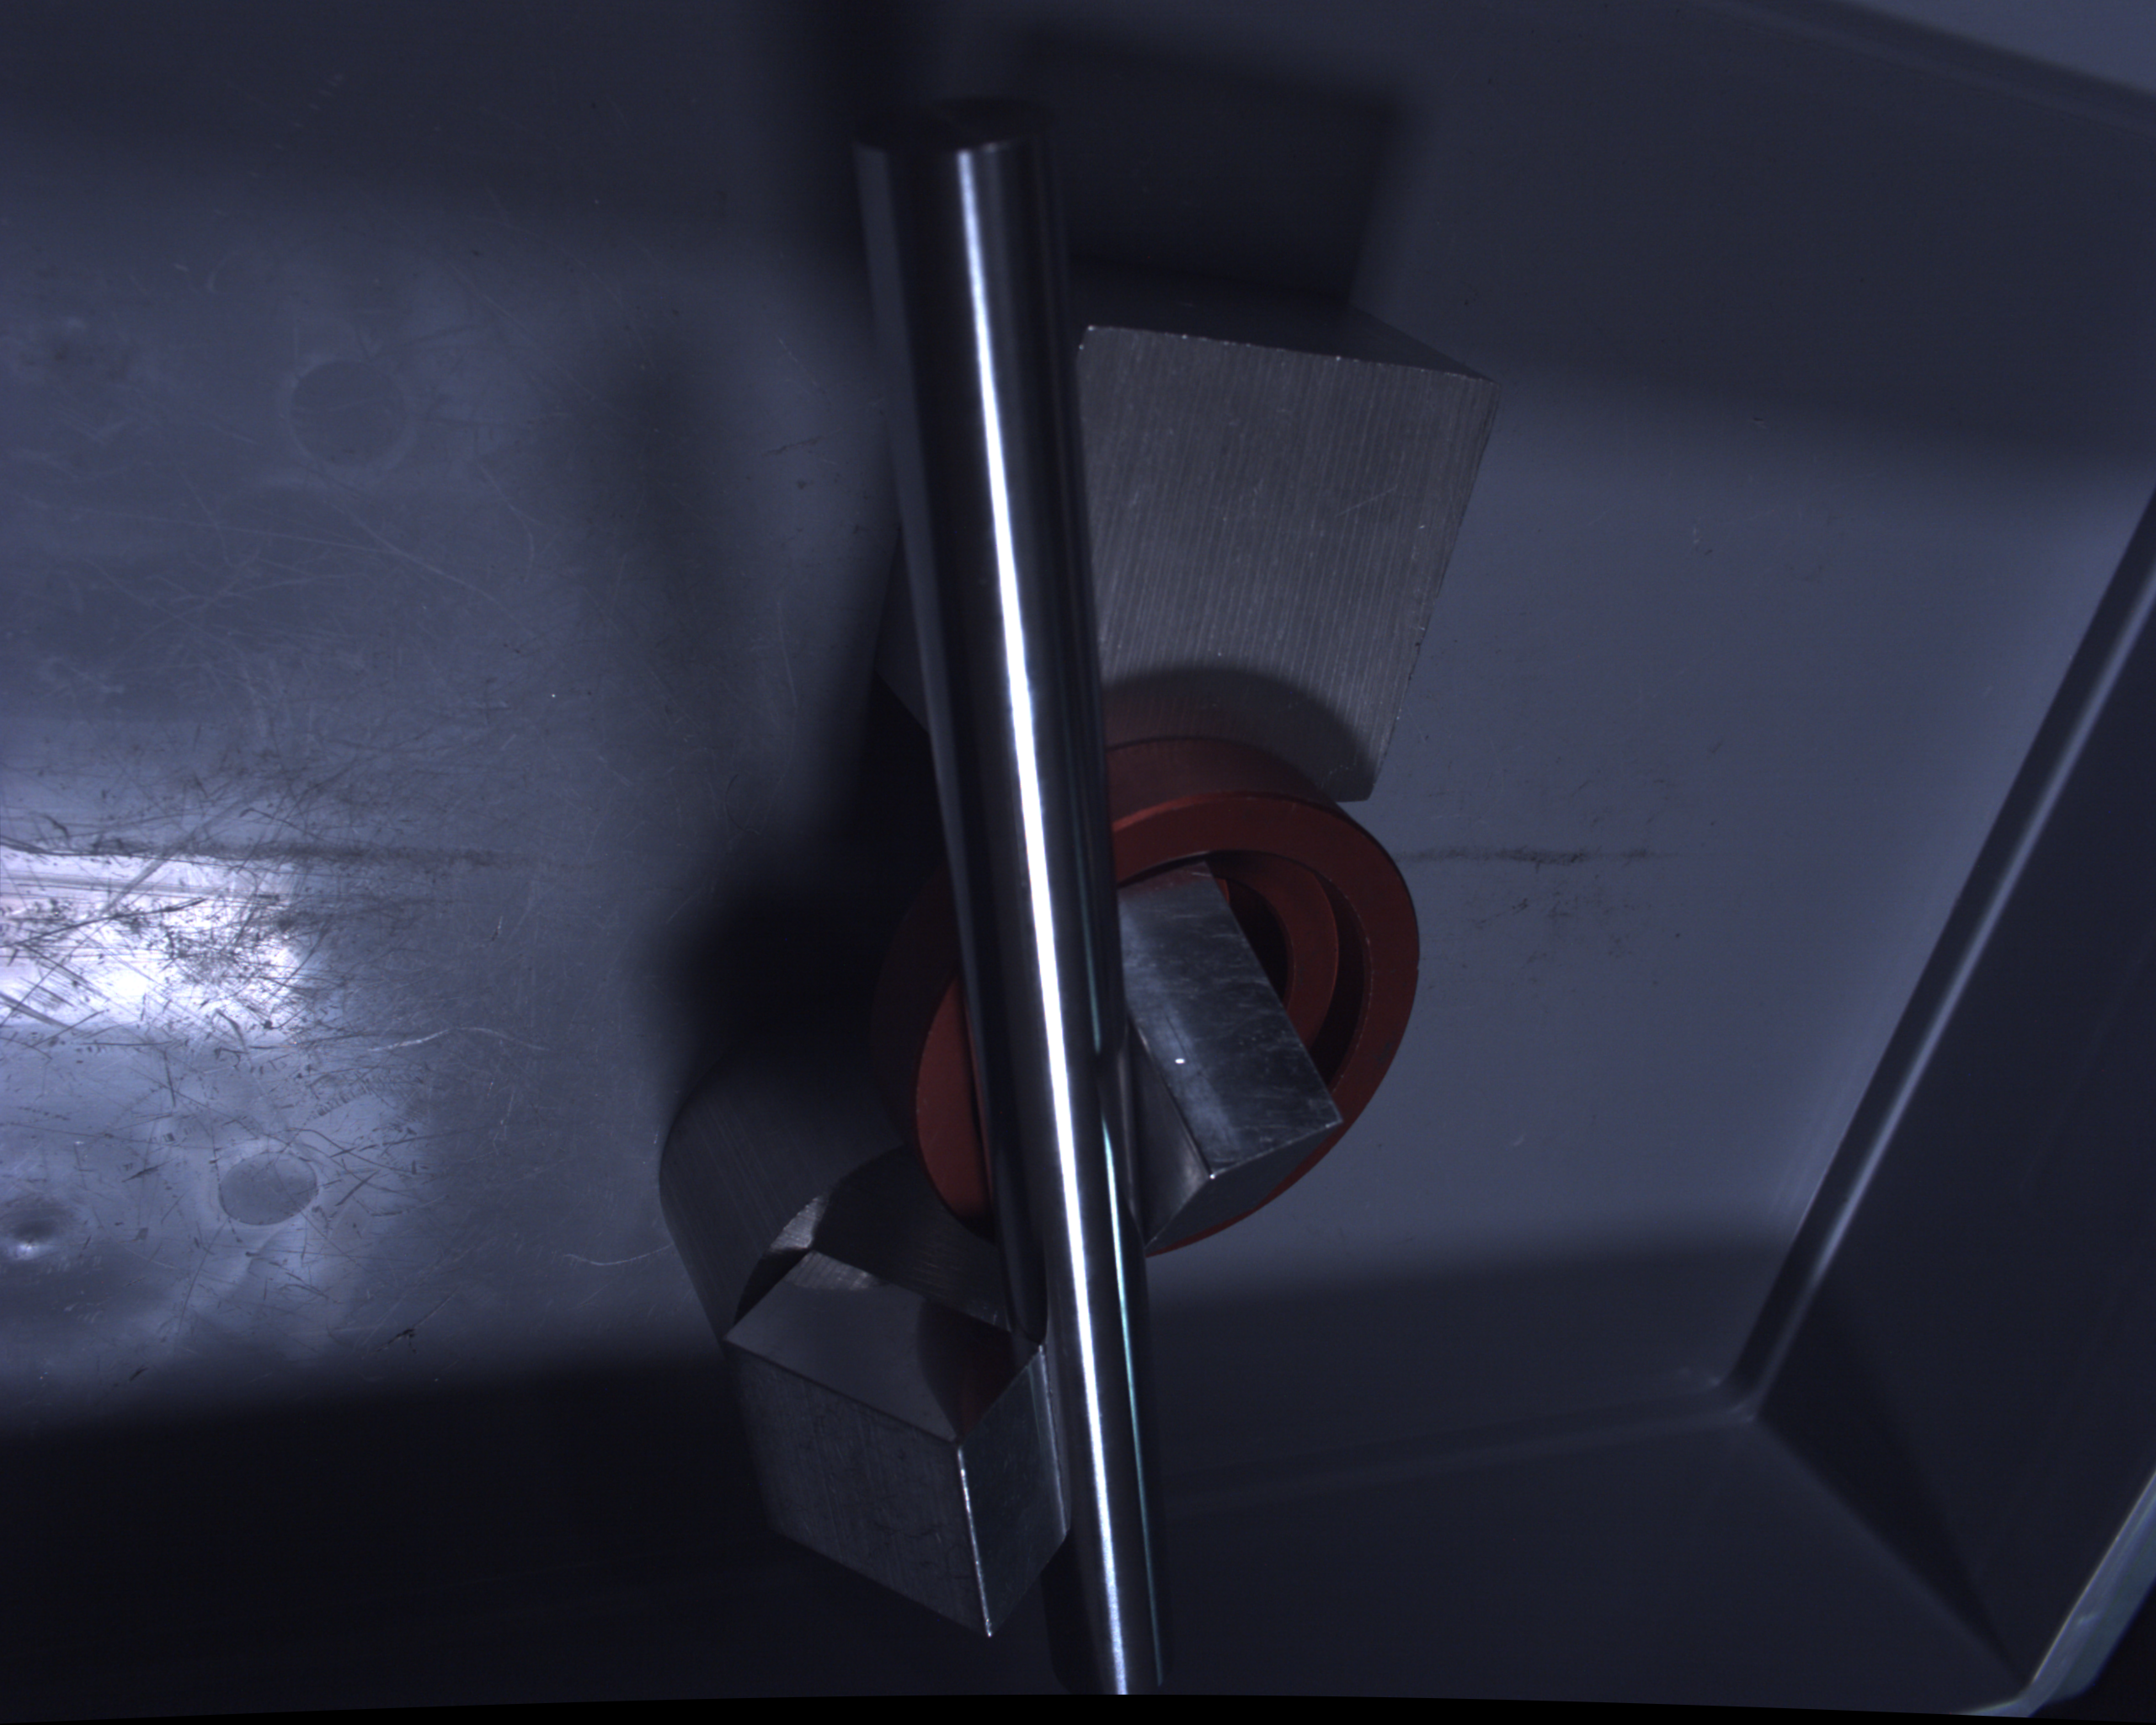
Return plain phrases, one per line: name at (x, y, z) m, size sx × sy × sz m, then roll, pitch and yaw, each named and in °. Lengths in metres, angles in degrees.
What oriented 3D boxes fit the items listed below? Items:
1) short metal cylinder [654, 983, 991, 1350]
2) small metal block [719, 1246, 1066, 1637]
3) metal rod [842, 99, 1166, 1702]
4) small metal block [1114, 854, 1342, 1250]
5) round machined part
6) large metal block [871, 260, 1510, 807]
short metal cylinder at (-0.038, 0.071, 0.416) m, size 0.081 × 0.050 × 0.079 m, roll -14°, pitch 125°, yaw -21°
small metal block at (-0.032, 0.102, 0.370) m, size 0.025 × 0.050 × 0.050 m, roll -44°, pitch 139°, yaw -44°
metal rod at (-0.005, 0.034, 0.336) m, size 0.025 × 0.025 × 0.298 m, roll -18°, pitch 126°, yaw -19°
small metal block at (0.015, 0.034, 0.359) m, size 0.025 × 0.050 × 0.050 m, roll -19°, pitch 161°, yaw -22°
round machined part at (0.009, 0.021, 0.377) m, size 0.099 × 0.042 × 0.097 m, roll -14°, pitch 125°, yaw -21°
large metal block at (0.017, -0.057, 0.365) m, size 0.081 × 0.050 × 0.079 m, roll 0°, pitch 119°, yaw -29°
